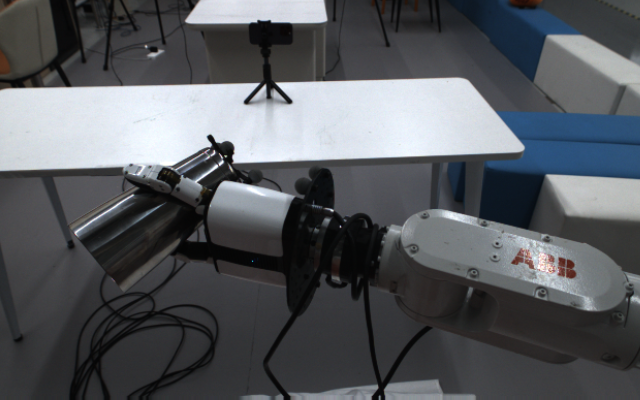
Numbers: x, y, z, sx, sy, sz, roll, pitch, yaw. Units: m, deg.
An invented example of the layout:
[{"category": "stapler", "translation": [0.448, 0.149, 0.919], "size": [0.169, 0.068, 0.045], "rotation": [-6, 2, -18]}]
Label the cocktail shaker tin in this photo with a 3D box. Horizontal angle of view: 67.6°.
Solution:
[{"category": "cocktail shaker tin", "translation": [-0.176, 0.009, 0.542], "size": [0.170, 0.093, 0.093], "rotation": [-38, 49, -24]}]
